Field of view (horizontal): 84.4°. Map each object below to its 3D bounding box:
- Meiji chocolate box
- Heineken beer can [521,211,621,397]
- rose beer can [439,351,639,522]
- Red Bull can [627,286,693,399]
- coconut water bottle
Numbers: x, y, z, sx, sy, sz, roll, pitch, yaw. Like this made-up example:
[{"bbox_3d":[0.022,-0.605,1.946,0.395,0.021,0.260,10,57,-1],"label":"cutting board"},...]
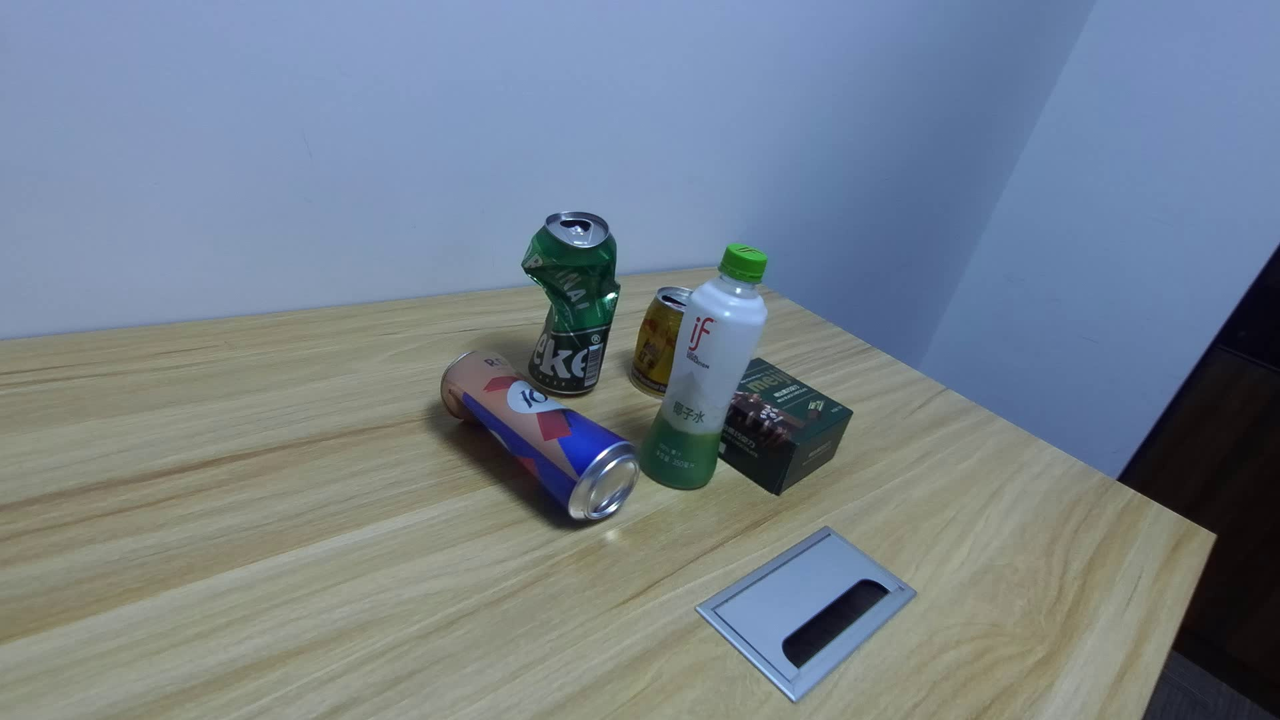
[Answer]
[{"bbox_3d":[0.114,0.055,0.631,0.108,0.056,0.110,32,30,31],"label":"Meiji chocolate box"},{"bbox_3d":[-0.058,-0.047,0.617,0.067,0.159,0.079,19,33,14],"label":"Heineken beer can"},{"bbox_3d":[-0.076,0.050,0.523,0.167,0.069,0.070,31,50,32],"label":"rose beer can"},{"bbox_3d":[0.032,-0.017,0.690,0.069,0.092,0.069,14,25,-6],"label":"Red Bull can"},{"bbox_3d":[0.052,0.006,0.534,0.063,0.188,0.063,13,26,-6],"label":"coconut water bottle"}]
